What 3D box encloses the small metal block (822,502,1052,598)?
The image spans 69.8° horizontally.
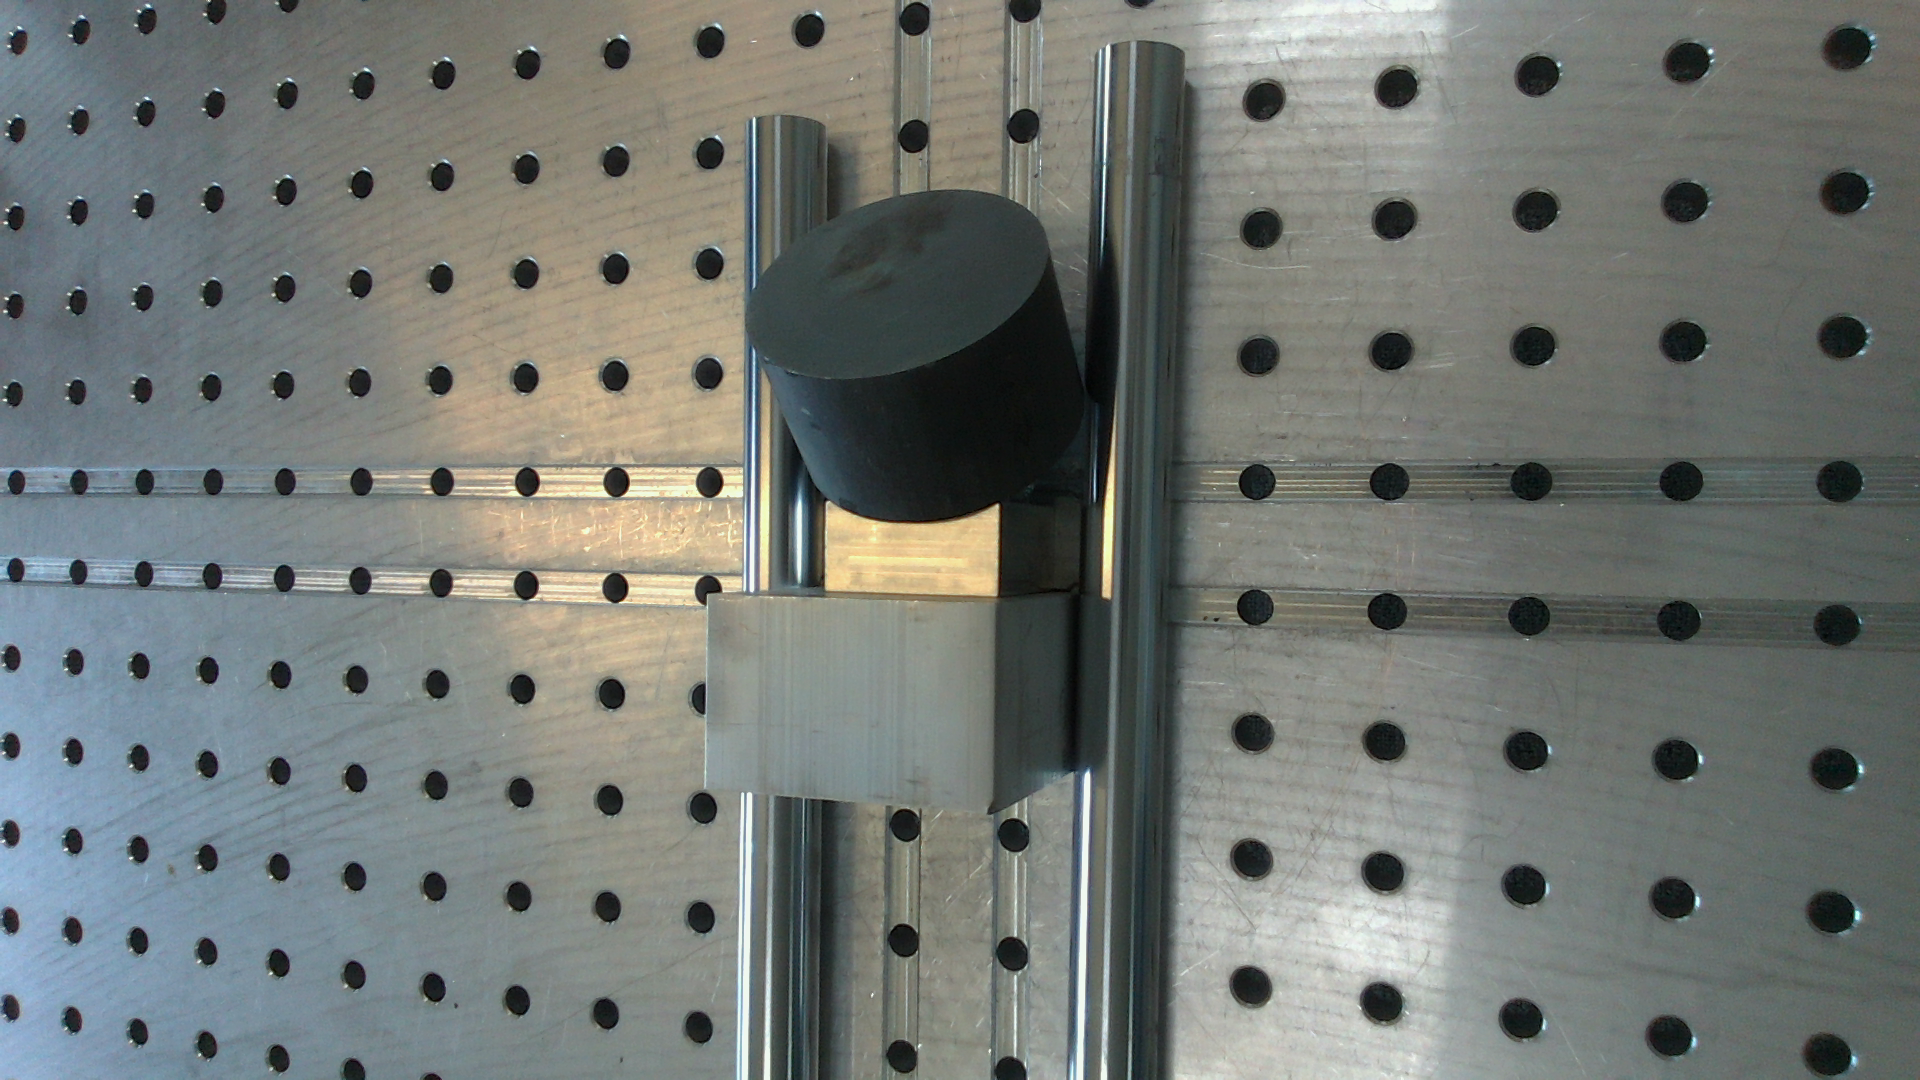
[{"bbox_3d":[-0.005,0.002,0.387,0.050,0.050,0.025,1,91,20],"label":"small metal block"}]

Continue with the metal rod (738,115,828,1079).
[{"bbox_3d":[-0.054,0.025,0.418,0.025,0.025,0.300,1,90,20],"label":"metal rod"}]

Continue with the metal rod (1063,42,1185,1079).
[{"bbox_3d":[0.045,0.017,0.382,0.025,0.025,0.300,2,91,20],"label":"metal rod"}]

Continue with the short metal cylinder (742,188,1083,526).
[{"bbox_3d":[-0.011,-0.050,0.366,0.080,0.050,0.080,-10,44,9],"label":"short metal cylinder"}]

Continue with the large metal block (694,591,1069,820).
[{"bbox_3d":[-0.016,0.040,0.372,0.080,0.080,0.050,1,90,20],"label":"large metal block"}]
